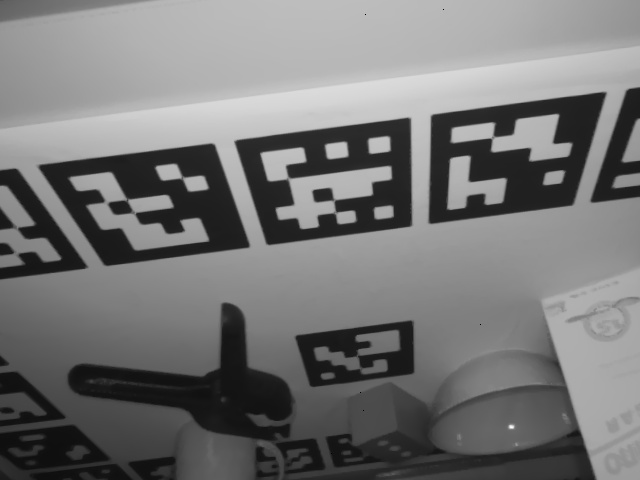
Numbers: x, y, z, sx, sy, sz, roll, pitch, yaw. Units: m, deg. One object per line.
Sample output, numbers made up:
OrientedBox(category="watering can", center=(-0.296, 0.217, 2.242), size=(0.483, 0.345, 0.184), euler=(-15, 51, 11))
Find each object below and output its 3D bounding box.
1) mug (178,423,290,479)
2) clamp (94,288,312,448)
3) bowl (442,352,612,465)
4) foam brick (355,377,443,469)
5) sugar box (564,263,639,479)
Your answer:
OrientedBox(category="mug", center=(-0.086, 0.235, 0.688), size=(0.118, 0.082, 0.092), euler=(14, 133, -15))
OrientedBox(category="clamp", center=(-0.067, 0.131, 0.609), size=(0.164, 0.037, 0.203), euler=(-25, 133, 15))
OrientedBox(category="bowl", center=(0.193, 0.155, 0.662), size=(0.162, 0.055, 0.160), euler=(-3, 136, -2))
OrientedBox(category="foam brick", center=(0.079, 0.181, 0.686), size=(0.052, 0.052, 0.078), euler=(-27, 132, 19))
OrientedBox(category="sugar box", center=(0.257, 0.099, 0.525), size=(0.092, 0.178, 0.045), euler=(-24, 132, 19))
